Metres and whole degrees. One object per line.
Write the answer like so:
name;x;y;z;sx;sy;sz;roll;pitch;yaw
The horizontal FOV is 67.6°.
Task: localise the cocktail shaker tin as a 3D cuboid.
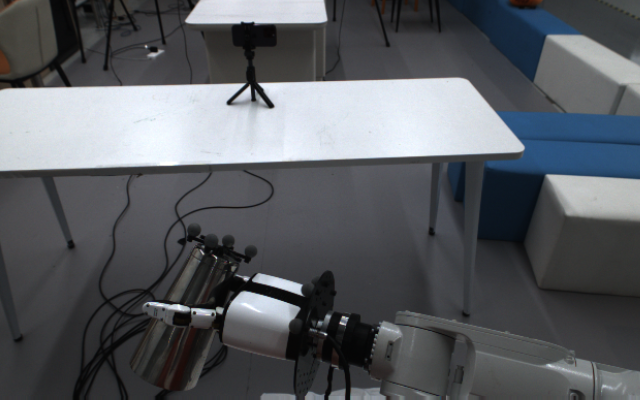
cocktail shaker tin;-0.170;0.146;0.638;0.093;0.170;0.093;24;1;0
